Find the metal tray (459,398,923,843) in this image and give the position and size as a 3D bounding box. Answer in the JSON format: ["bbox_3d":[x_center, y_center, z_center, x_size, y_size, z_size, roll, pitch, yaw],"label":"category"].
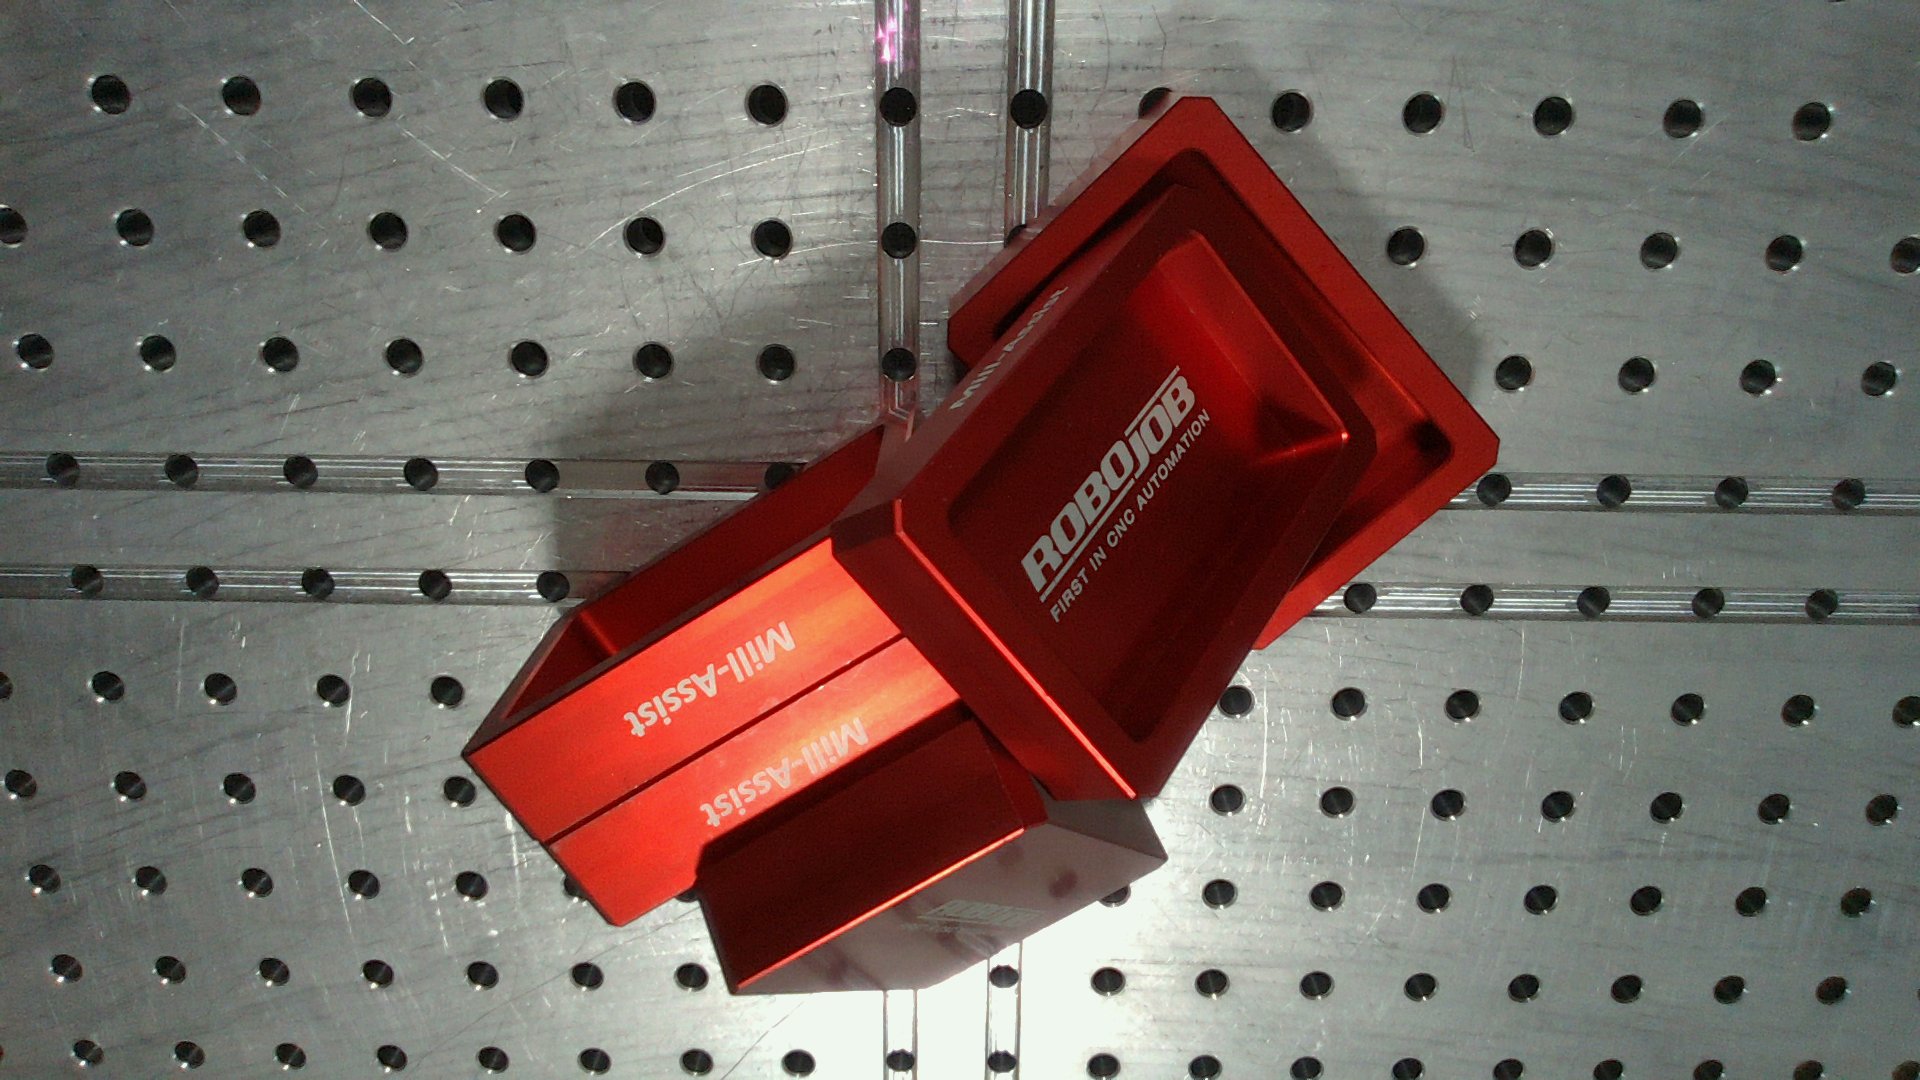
[{"bbox_3d":[-0.061,0.018,0.368,0.130,0.090,0.030,-31,107,11],"label":"metal tray"}]

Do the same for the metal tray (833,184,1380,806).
[{"bbox_3d":[0.041,-0.013,0.332,0.090,0.030,0.130,49,58,-16],"label":"metal tray"}]

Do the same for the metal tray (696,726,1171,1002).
[{"bbox_3d":[0.000,0.092,0.381,0.090,0.130,0.030,-31,66,11],"label":"metal tray"}]

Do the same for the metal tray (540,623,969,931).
[{"bbox_3d":[-0.043,0.042,0.375,0.130,0.090,0.030,-31,107,11],"label":"metal tray"}]

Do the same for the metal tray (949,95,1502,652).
[{"bbox_3d":[0.071,-0.043,0.377,0.090,0.030,0.130,-42,105,14],"label":"metal tray"}]
